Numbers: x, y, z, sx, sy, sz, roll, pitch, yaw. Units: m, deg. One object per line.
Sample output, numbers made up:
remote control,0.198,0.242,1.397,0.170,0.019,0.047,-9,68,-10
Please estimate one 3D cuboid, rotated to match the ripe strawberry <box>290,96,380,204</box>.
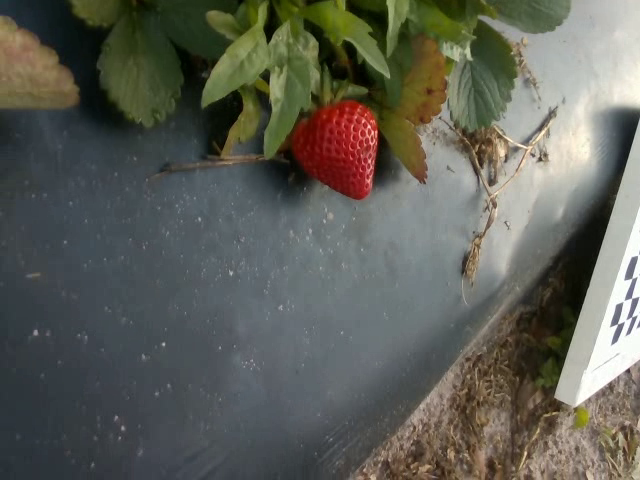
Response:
ripe strawberry,0.007,-0.039,0.271,0.043,0.051,0.042,-24,4,-40
